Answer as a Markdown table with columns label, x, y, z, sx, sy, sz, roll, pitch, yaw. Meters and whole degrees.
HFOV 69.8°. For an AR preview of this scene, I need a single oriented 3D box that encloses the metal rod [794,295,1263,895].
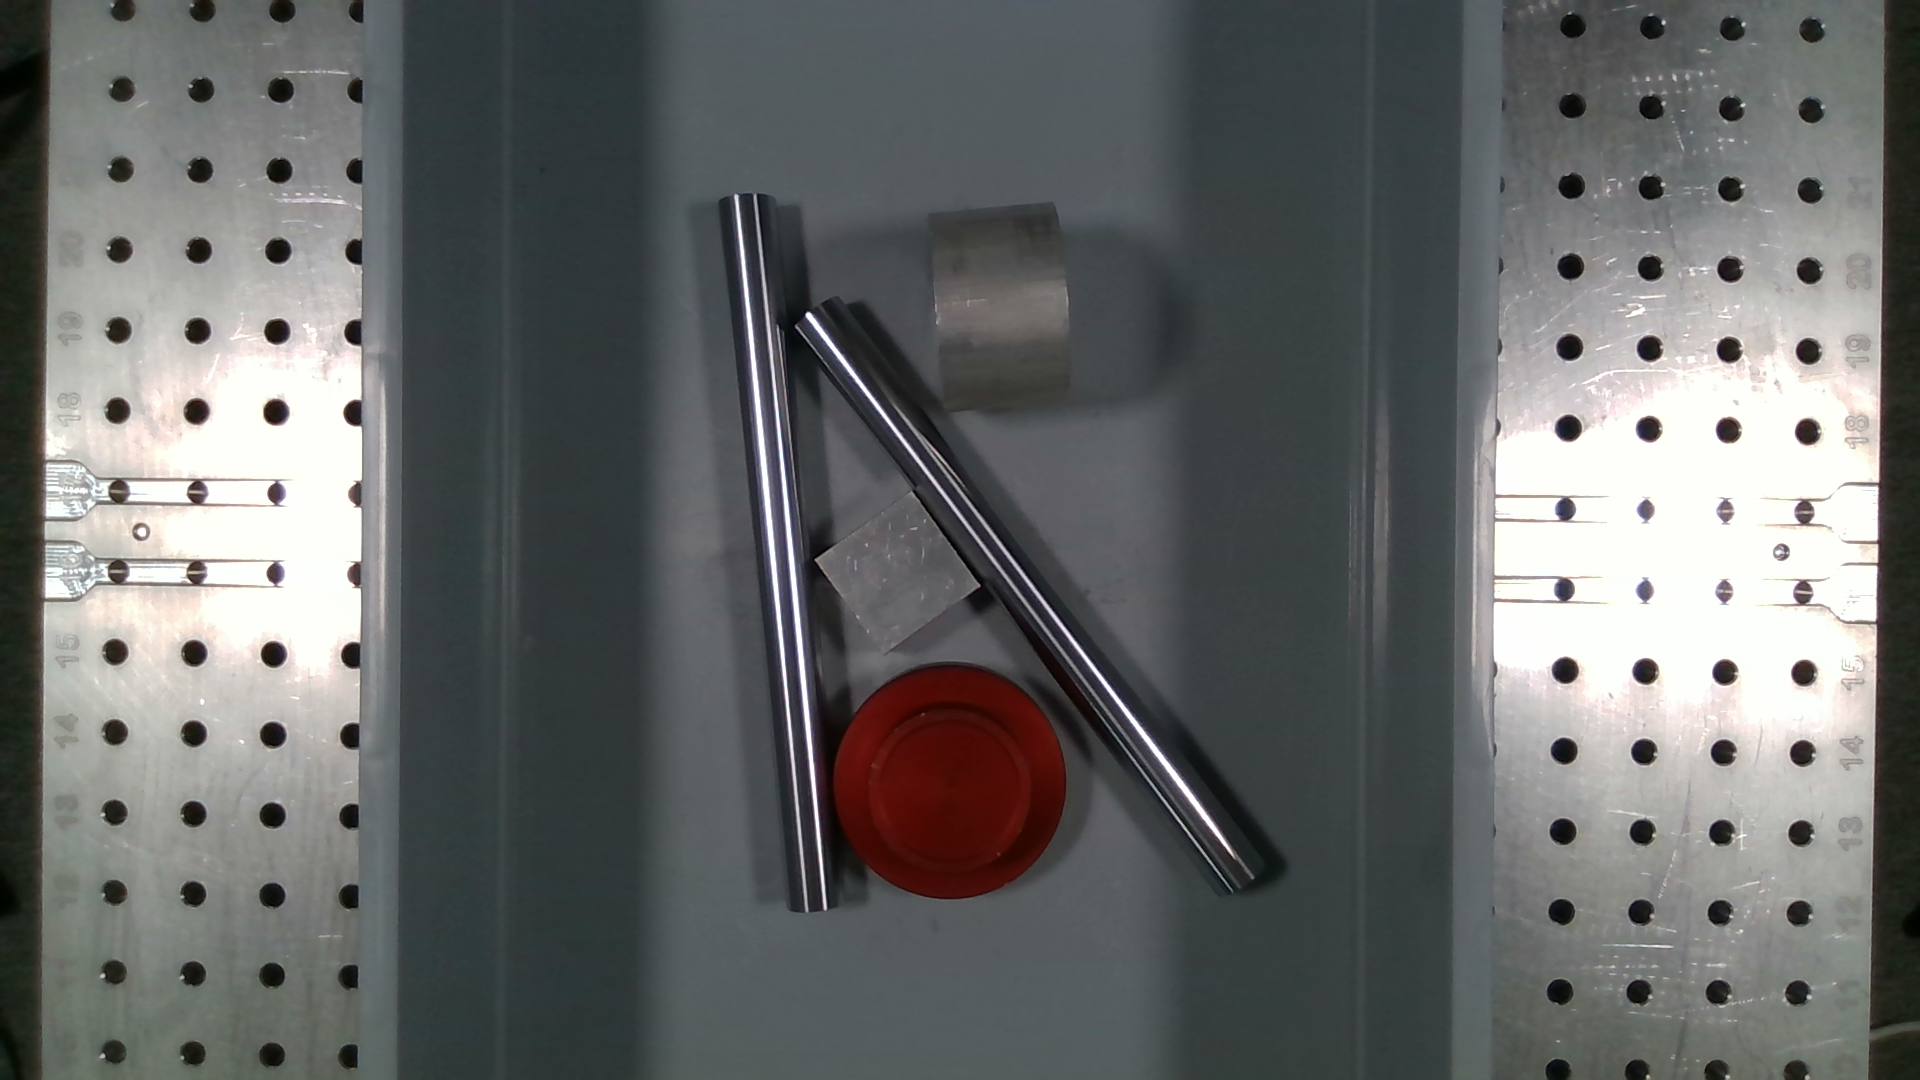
| label | x | y | z | sx | sy | sz | roll | pitch | yaw |
| --- | --- | --- | --- | --- | --- | --- | --- | --- | --- |
| metal rod | 0.029 | 0.023 | 0.586 | 0.025 | 0.025 | 0.300 | -37 | 90 | 0 |

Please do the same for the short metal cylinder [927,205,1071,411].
| label | x | y | z | sx | sy | sz | roll | pitch | yaw |
| --- | --- | --- | --- | --- | --- | --- | --- | --- | --- |
| short metal cylinder | 0.015 | -0.094 | 0.558 | 0.050 | 0.080 | 0.080 | -5 | 90 | 0 |

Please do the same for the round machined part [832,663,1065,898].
| label | x | y | z | sx | sy | sz | roll | pitch | yaw |
| --- | --- | --- | --- | --- | --- | --- | --- | --- | --- |
| round machined part | -0.005 | 0.101 | 0.577 | 0.098 | 0.042 | 0.098 | 0 | 90 | 0 |

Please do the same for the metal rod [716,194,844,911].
| label | x | y | z | sx | sy | sz | roll | pitch | yaw |
| --- | --- | --- | --- | --- | --- | --- | --- | --- | --- |
| metal rod | -0.076 | 0.006 | 0.586 | 0.025 | 0.025 | 0.300 | -6 | 91 | 0 |

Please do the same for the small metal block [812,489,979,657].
| label | x | y | z | sx | sy | sz | roll | pitch | yaw |
| --- | --- | --- | --- | --- | --- | --- | --- | --- | --- |
| small metal block | -0.027 | 0.014 | 0.585 | 0.050 | 0.025 | 0.050 | -36 | 90 | 0 |
